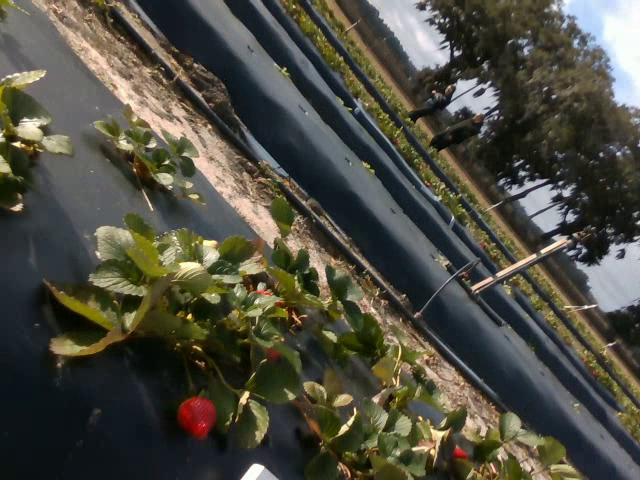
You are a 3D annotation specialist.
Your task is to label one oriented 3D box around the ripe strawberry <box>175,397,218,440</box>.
[{"bbox_3d":[-0.096,0.145,0.489,0.041,0.041,0.047,18,12,-22],"label":"ripe strawberry"}]
